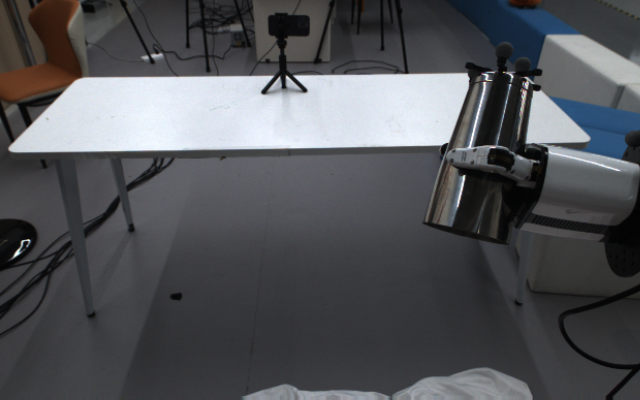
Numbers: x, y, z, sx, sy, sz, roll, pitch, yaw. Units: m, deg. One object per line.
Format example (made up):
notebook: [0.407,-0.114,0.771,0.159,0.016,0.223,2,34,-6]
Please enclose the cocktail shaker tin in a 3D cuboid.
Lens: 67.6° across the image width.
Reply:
cocktail shaker tin: [0.178,-0.046,0.526,0.093,0.170,0.093,16,-4,1]
